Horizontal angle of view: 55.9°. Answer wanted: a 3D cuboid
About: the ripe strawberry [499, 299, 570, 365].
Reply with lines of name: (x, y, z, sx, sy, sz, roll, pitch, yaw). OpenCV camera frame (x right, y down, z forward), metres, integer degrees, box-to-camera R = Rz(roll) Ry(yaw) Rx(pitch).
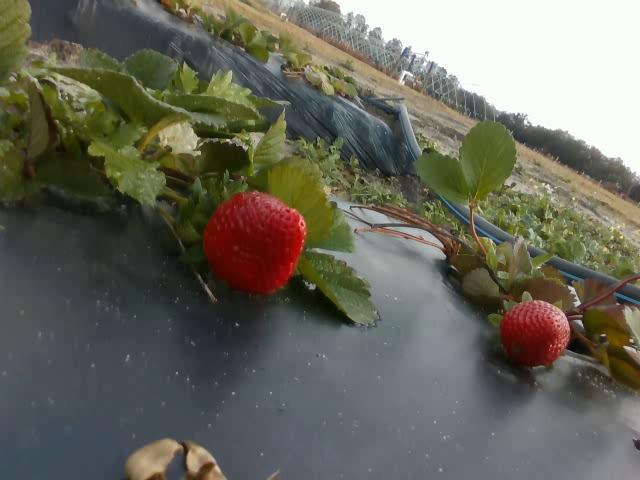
ripe strawberry: (0.109, 0.046, 0.293, 0.041, 0.045, 0.052, -28, -13, -2)

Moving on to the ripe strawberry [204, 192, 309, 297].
ripe strawberry: (-0.021, -0.002, 0.219, 0.046, 0.051, 0.050, -46, 5, -32)
